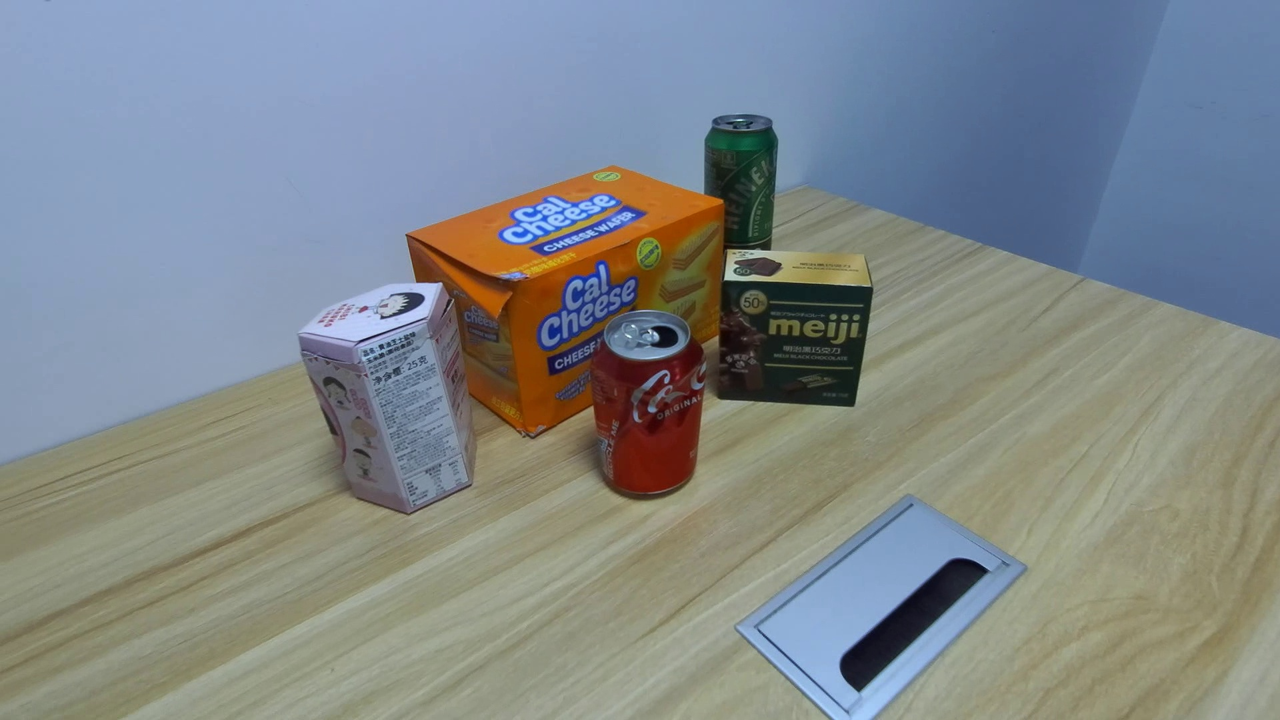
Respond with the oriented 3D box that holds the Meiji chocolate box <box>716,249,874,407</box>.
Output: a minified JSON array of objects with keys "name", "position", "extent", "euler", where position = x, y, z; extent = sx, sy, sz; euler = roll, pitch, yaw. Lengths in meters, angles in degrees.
[{"name":"Meiji chocolate box","position":[0.116,-0.024,0.548],"extent":[0.110,0.109,0.056],"euler":[3,34,7]}]

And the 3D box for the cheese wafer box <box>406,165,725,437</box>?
[{"name":"cheese wafer box","position":[-0.054,-0.064,0.598],"extent":[0.228,0.137,0.149],"euler":[-28,41,-33]}]

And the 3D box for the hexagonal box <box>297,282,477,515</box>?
[{"name":"hexagonal box","position":[-0.160,0.024,0.472],"extent":[0.085,0.135,0.092],"euler":[-4,34,-3]}]

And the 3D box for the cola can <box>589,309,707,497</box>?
[{"name":"cola can","position":[0.005,0.029,0.467],"extent":[0.065,0.117,0.066],"euler":[21,39,32]}]

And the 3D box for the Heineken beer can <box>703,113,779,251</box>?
[{"name":"Heineken beer can","position":[0.094,-0.140,0.674],"extent":[0.067,0.169,0.067],"euler":[-1,31,1]}]
